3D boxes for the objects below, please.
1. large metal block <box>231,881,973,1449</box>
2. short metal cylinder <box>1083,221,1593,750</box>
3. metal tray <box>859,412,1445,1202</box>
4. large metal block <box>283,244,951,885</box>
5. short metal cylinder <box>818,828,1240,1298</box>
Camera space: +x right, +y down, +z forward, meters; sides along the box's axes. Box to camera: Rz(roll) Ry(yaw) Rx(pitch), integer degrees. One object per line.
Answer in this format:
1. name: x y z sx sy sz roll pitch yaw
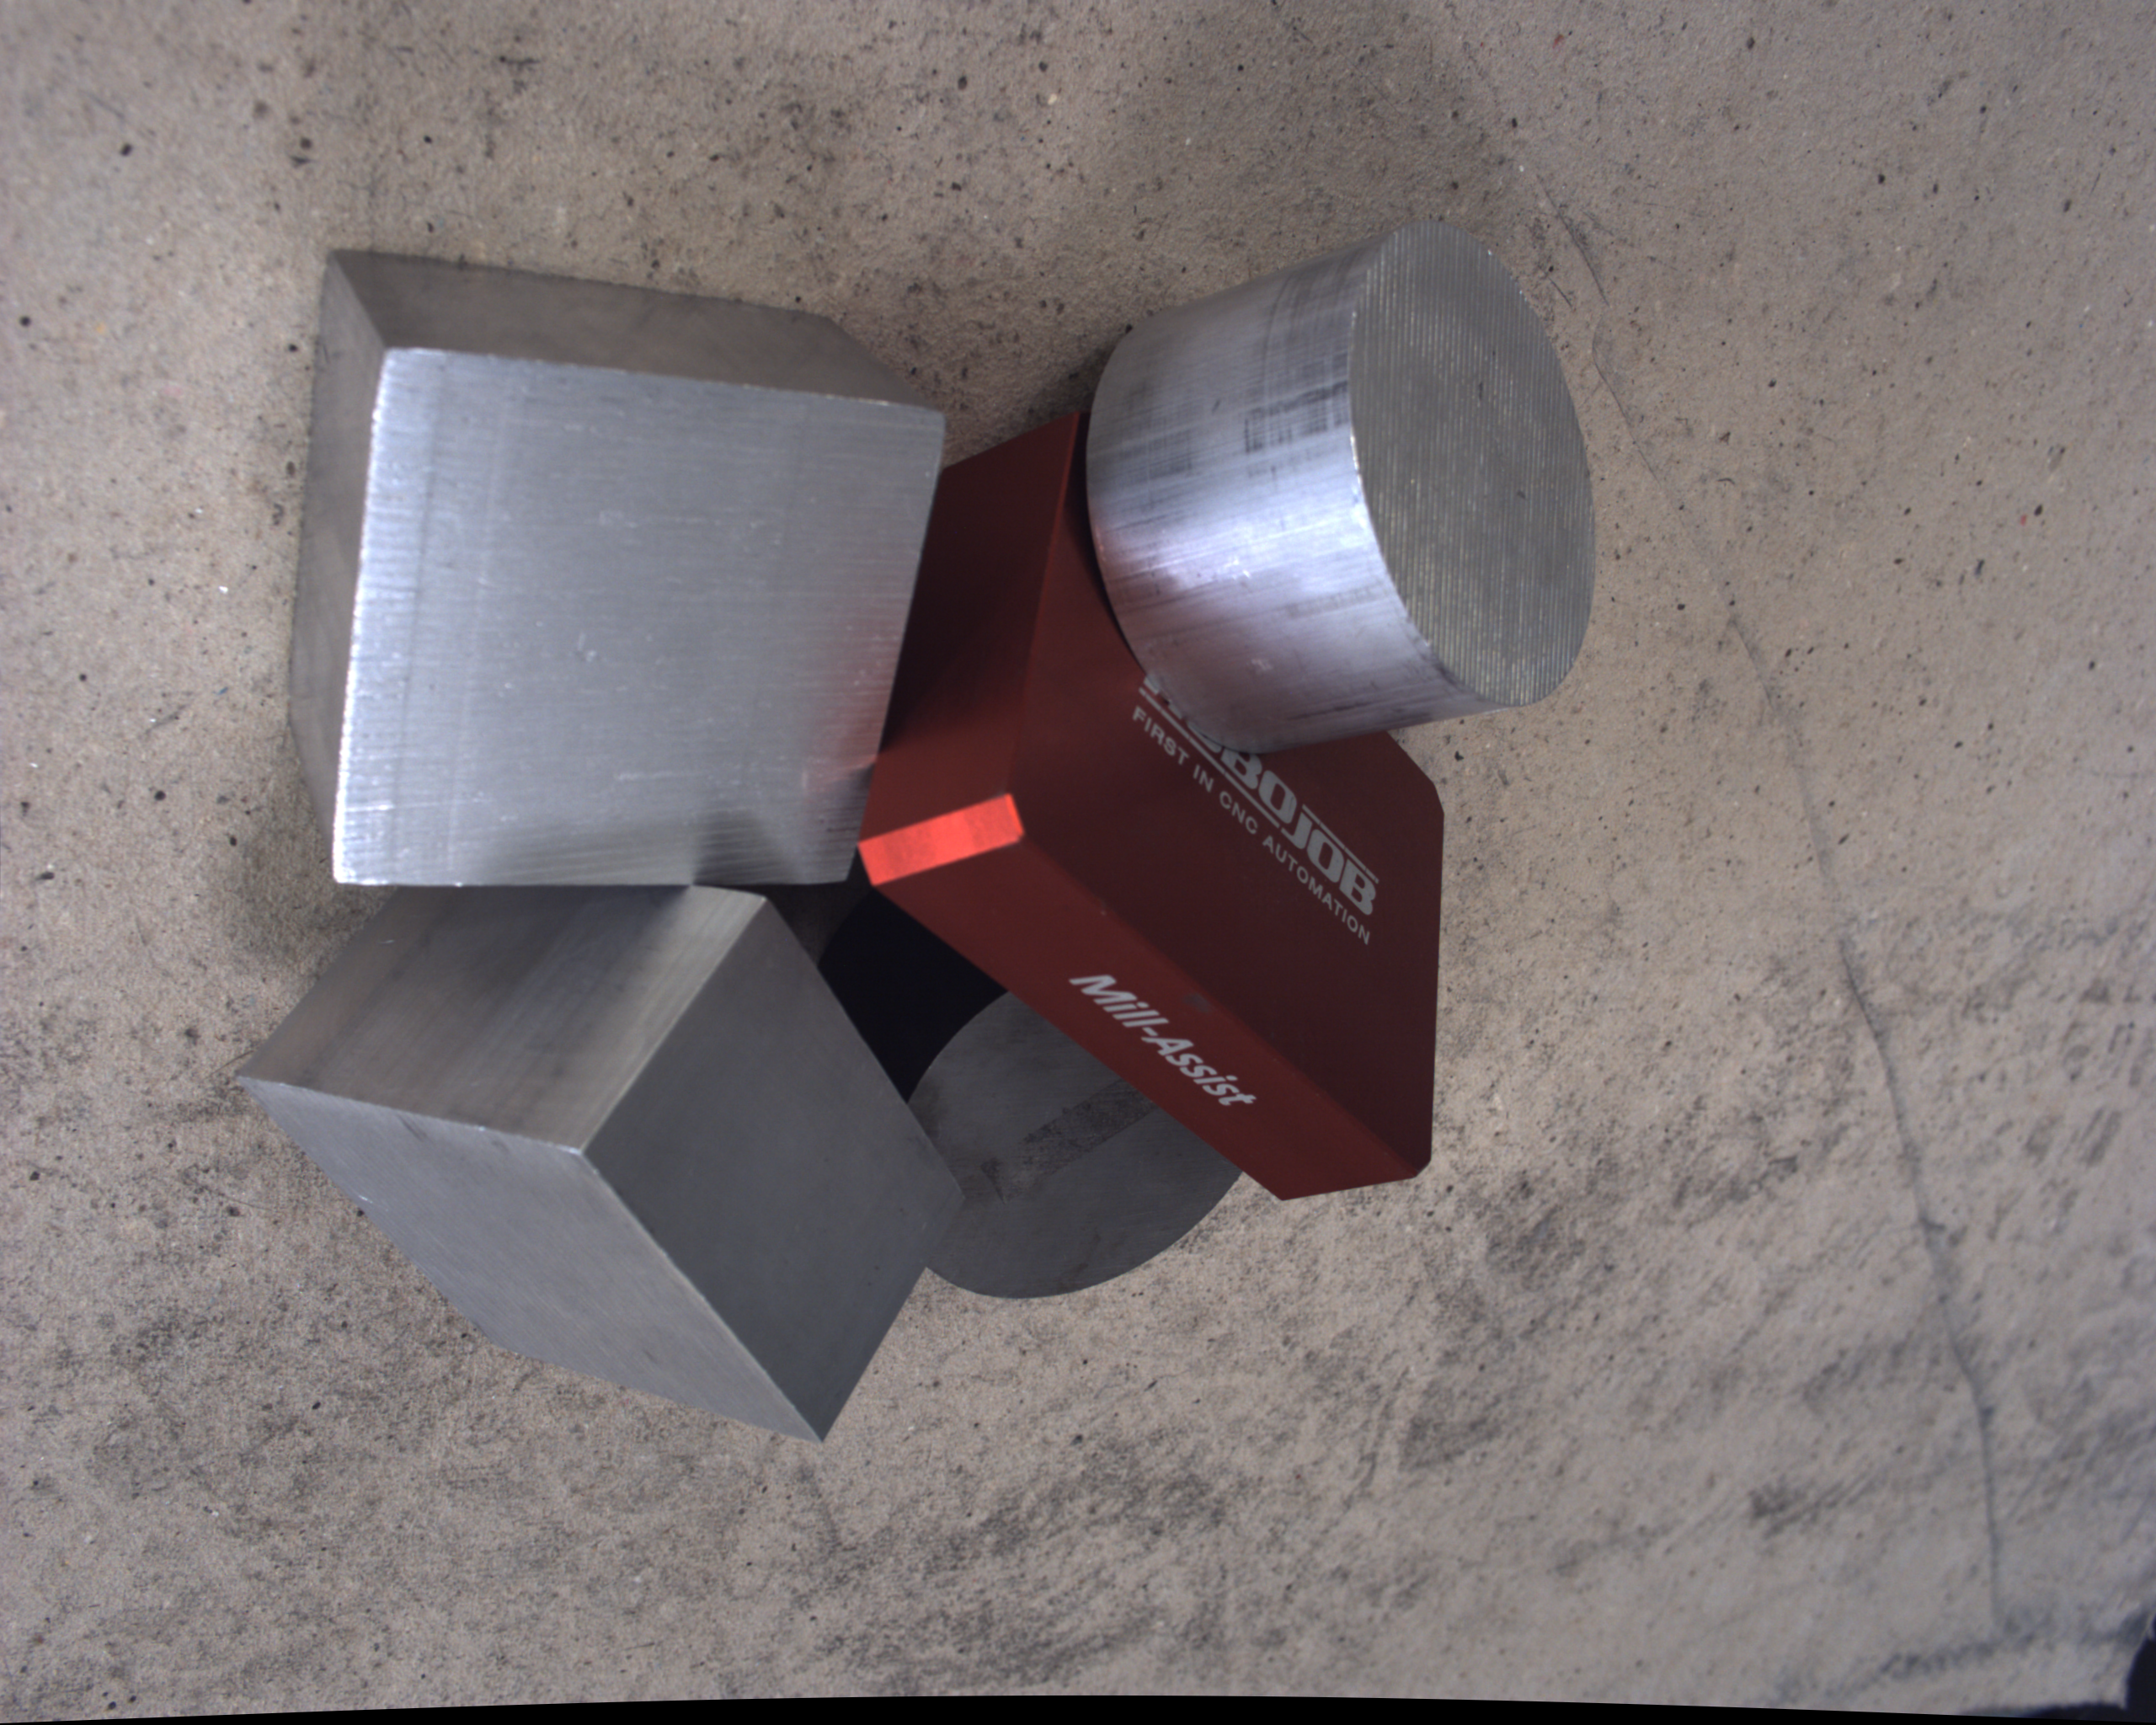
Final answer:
1. large metal block: -0.077 0.047 0.351 0.050 0.080 0.080 -59 139 -33
2. short metal cylinder: 0.046 -0.062 0.354 0.080 0.050 0.080 12 74 -49
3. metal tray: 0.021 -0.006 0.376 0.030 0.090 0.130 -17 139 33
4. large metal block: -0.074 -0.043 0.322 0.081 0.050 0.079 1 118 -29
5. short metal cylinder: -0.008 0.039 0.413 0.081 0.050 0.079 -14 124 -21
